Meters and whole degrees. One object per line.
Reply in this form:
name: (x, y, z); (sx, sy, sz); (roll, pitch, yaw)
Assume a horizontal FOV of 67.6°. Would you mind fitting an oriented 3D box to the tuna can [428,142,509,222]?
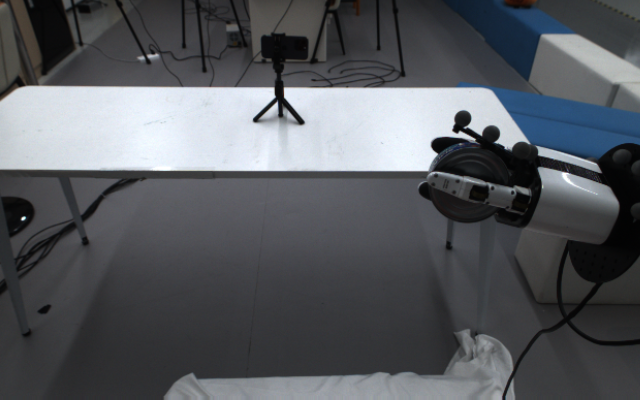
tuna can: (0.166, -0.022, 0.539); (0.085, 0.085, 0.034); (7, 16, 6)
